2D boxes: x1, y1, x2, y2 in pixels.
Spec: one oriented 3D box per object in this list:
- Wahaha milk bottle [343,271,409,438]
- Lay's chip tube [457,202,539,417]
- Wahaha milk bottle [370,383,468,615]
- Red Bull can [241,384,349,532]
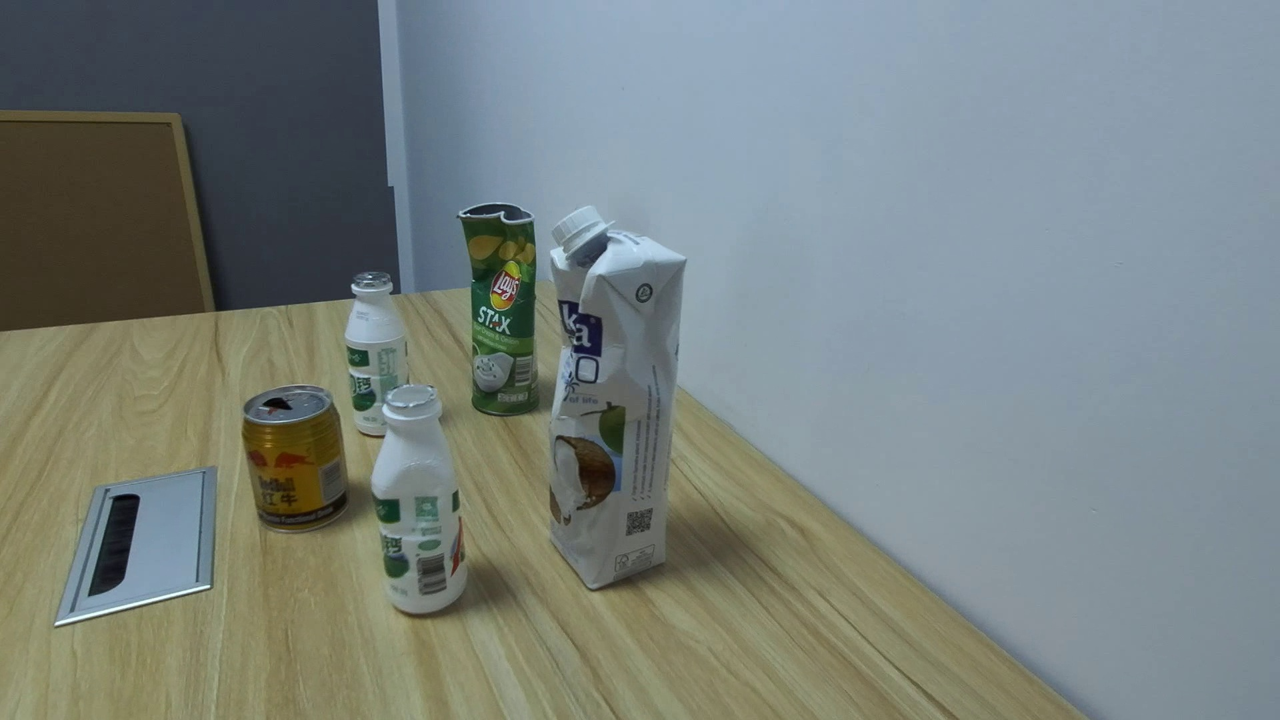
[{"bbox_3d":[-0.239,-0.005,0.644,0.053,0.147,0.053,3,23,-1],"label":"Wahaha milk bottle"},{"bbox_3d":[-0.134,-0.049,0.692,0.077,0.201,0.069,1,24,0],"label":"Lay's chip tube"},{"bbox_3d":[-0.140,0.087,0.445,0.055,0.149,0.055,2,24,-1],"label":"Wahaha milk bottle"},{"bbox_3d":[-0.258,0.073,0.531,0.067,0.093,0.067,3,24,-1],"label":"Red Bull can"}]
